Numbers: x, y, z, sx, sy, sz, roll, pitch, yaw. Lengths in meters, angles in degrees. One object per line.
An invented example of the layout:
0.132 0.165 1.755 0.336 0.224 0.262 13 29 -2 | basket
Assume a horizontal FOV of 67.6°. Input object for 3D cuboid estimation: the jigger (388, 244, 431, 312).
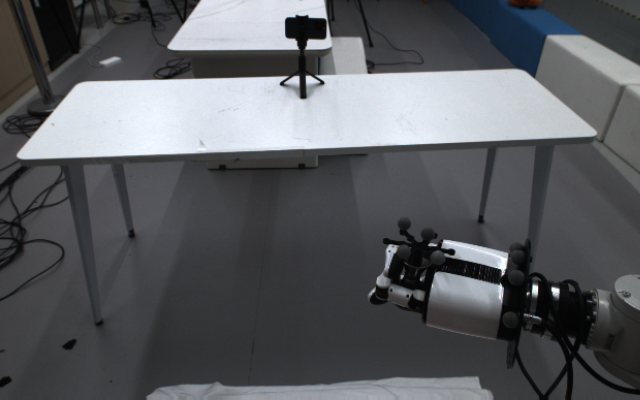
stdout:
0.120 0.104 0.629 0.043 0.071 0.043 6 26 -3 | jigger
